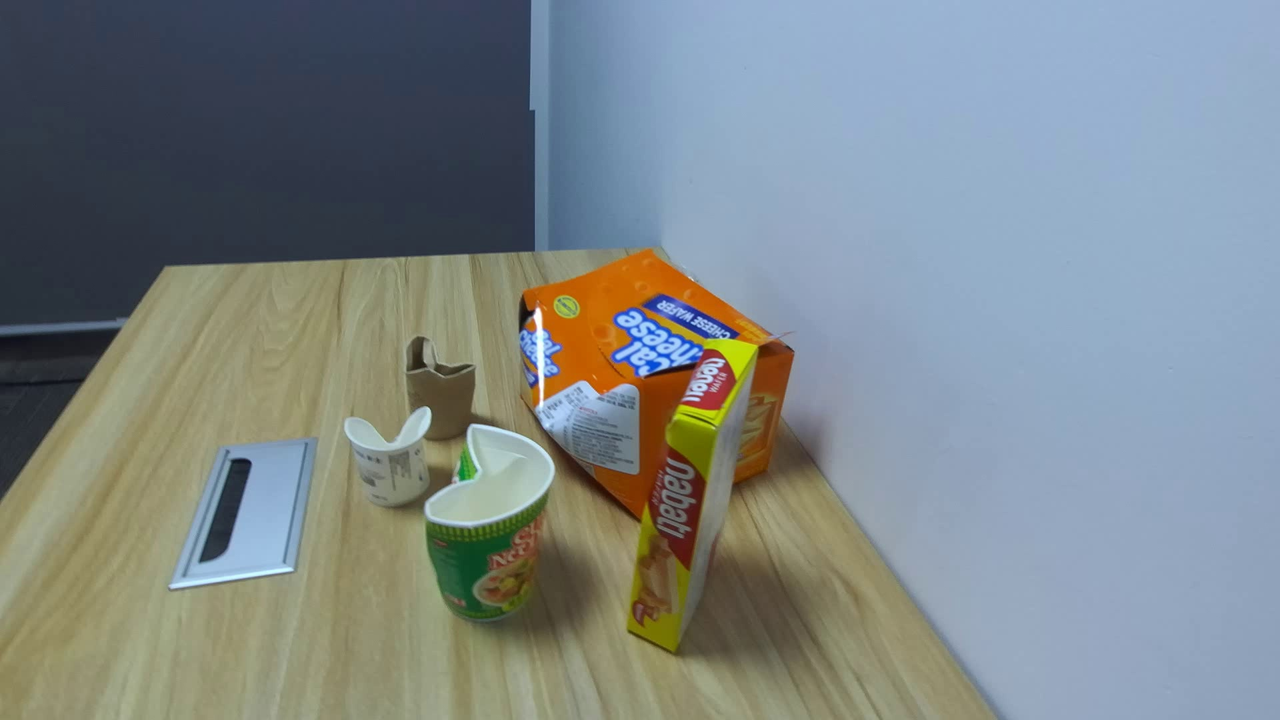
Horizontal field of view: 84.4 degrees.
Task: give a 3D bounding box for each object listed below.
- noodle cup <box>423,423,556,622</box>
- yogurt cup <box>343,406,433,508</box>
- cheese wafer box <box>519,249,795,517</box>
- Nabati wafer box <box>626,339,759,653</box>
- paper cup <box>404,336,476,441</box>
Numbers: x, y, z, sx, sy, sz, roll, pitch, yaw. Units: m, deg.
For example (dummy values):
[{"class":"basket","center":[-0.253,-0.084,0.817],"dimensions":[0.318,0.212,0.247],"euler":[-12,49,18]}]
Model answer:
[{"class":"noodle cup","center":[-0.106,0.121,0.491],"dimensions":[0.086,0.109,0.094],"euler":[18,35,22]},{"class":"yogurt cup","center":[-0.203,0.079,0.580],"dimensions":[0.067,0.070,0.067],"euler":[4,31,-2]},{"class":"cheese wafer box","center":[-0.006,0.012,0.646],"dimensions":[0.192,0.145,0.218],"euler":[-18,39,-31]},{"class":"Nabati wafer box","center":[0.033,0.090,0.464],"dimensions":[0.042,0.203,0.096],"euler":[18,37,18]},{"class":"paper cup","center":[-0.183,0.027,0.647],"dimensions":[0.058,0.083,0.066],"euler":[-3,32,-17]}]
